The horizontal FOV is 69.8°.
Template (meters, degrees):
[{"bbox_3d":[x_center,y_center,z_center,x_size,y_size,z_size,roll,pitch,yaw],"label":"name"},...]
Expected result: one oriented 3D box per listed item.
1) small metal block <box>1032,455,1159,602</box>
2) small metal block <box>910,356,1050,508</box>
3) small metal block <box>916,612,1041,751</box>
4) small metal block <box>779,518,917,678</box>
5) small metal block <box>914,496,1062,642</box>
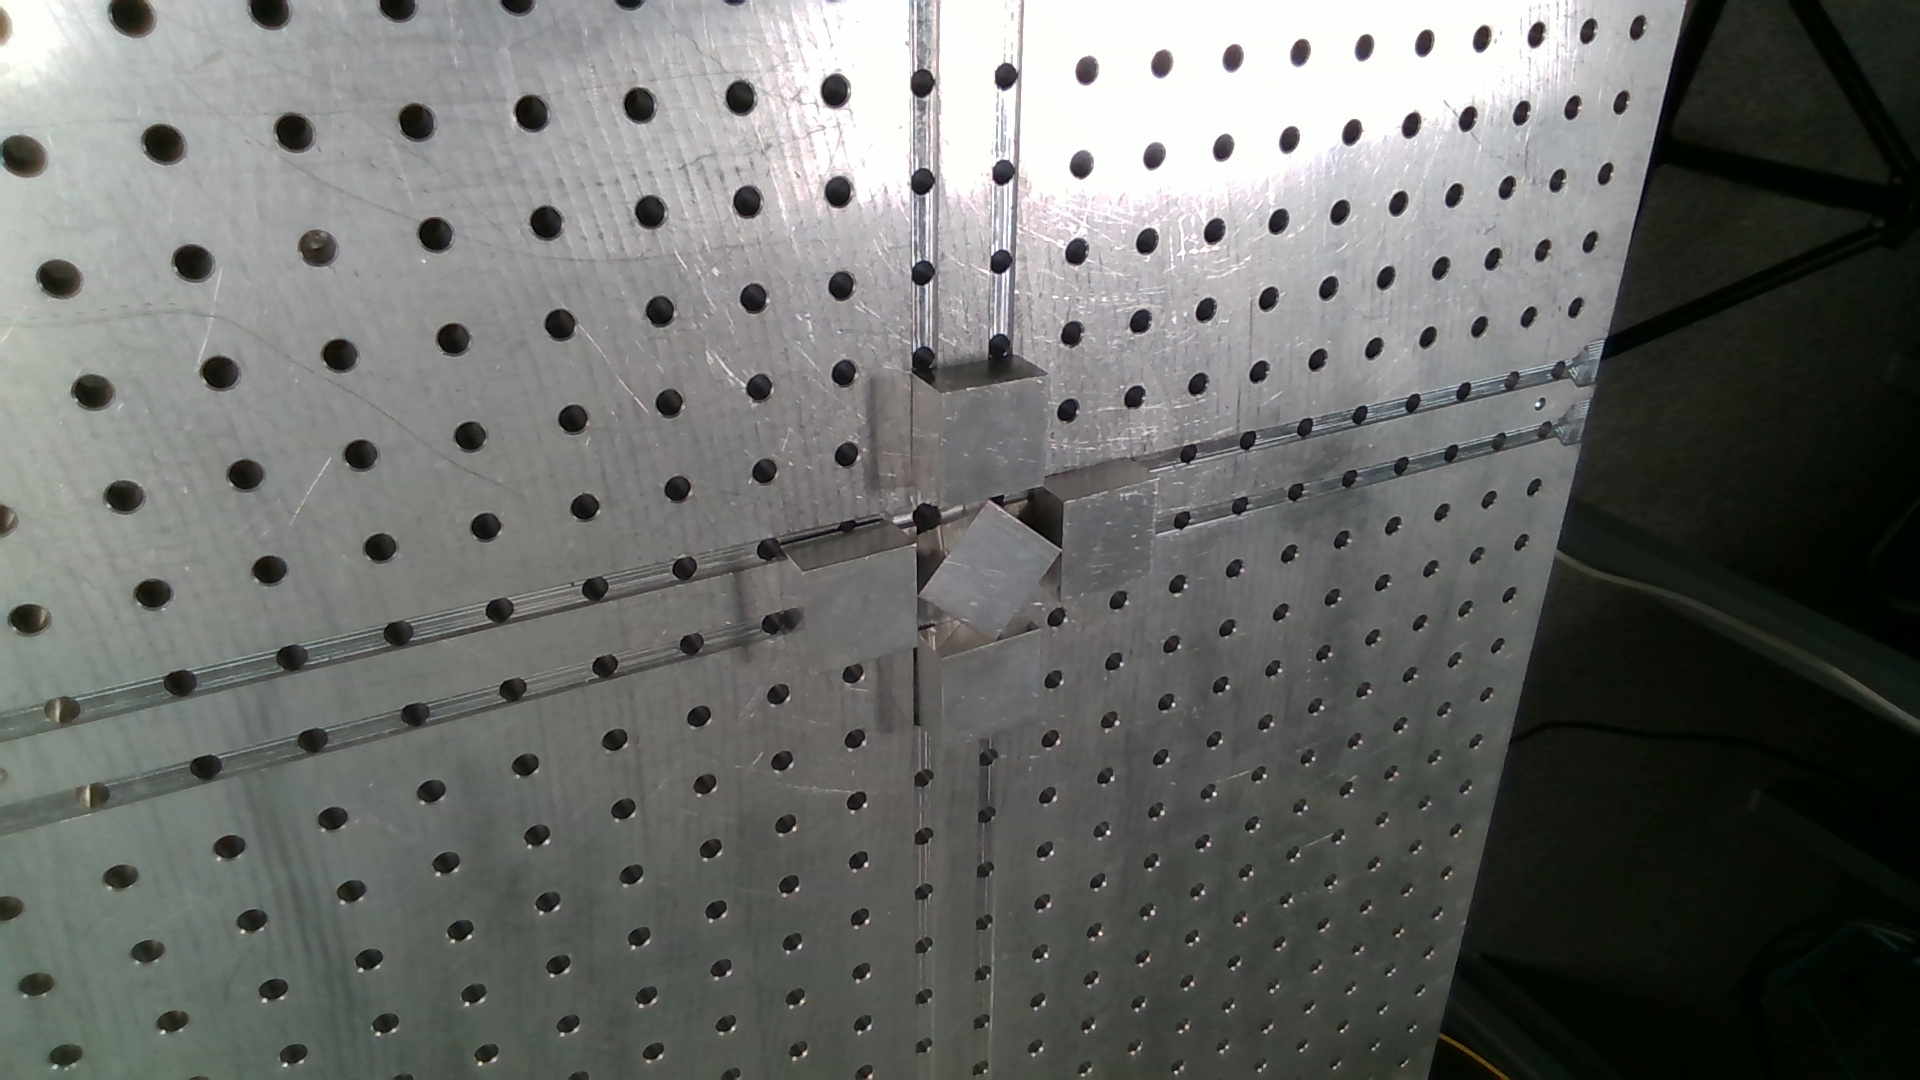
[{"bbox_3d":[0.060,-0.006,0.617,0.050,0.025,0.050,-15,122,-24],"label":"small metal block"},{"bbox_3d":[0.008,-0.045,0.564,0.050,0.025,0.050,-13,121,-25],"label":"small metal block"},{"bbox_3d":[0.008,0.061,0.622,0.050,0.025,0.050,-15,122,-25],"label":"small metal block"},{"bbox_3d":[-0.046,0.023,0.568,0.050,0.025,0.050,-14,121,-25],"label":"small metal block"},{"bbox_3d":[0.007,0.009,0.592,0.050,0.025,0.050,33,95,-39],"label":"small metal block"}]
